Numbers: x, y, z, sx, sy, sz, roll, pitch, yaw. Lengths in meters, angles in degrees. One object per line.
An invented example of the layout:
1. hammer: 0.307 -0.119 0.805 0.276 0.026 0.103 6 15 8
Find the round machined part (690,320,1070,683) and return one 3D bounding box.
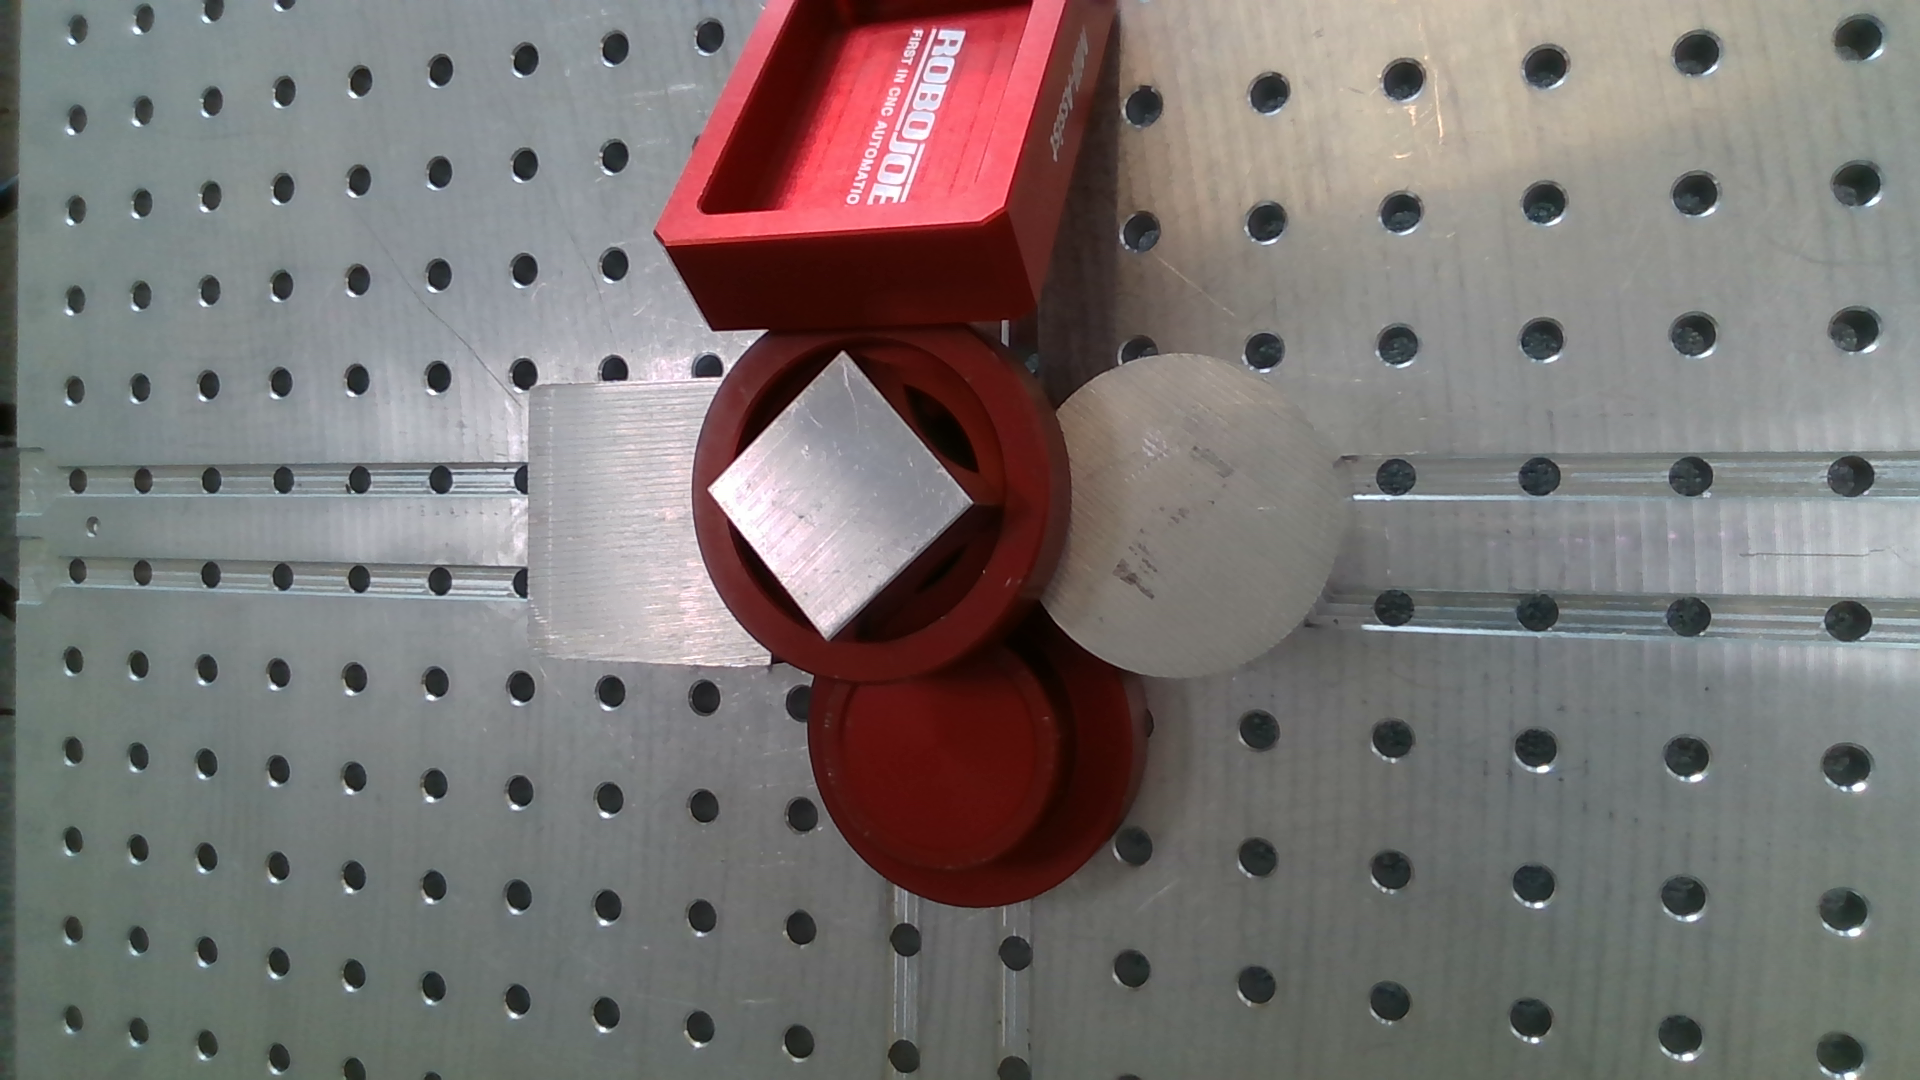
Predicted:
1. round machined part: -0.018 -0.013 0.363 0.098 0.042 0.098 0 90 20

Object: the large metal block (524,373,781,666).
1. large metal block: -0.080 -0.006 0.410 0.080 0.050 0.080 1 91 20

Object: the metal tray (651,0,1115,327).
1. metal tray: -0.015 -0.114 0.360 0.090 0.030 0.130 1 54 20

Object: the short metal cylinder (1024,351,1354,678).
1. short metal cylinder: 0.060 -0.006 0.361 0.080 0.050 0.080 0 90 20

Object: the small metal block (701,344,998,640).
1. small metal block: -0.027 -0.011 0.340 0.050 0.025 0.050 -44 77 15

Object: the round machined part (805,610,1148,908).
1. round machined part: 0.000 0.055 0.386 0.098 0.042 0.098 0 90 20
